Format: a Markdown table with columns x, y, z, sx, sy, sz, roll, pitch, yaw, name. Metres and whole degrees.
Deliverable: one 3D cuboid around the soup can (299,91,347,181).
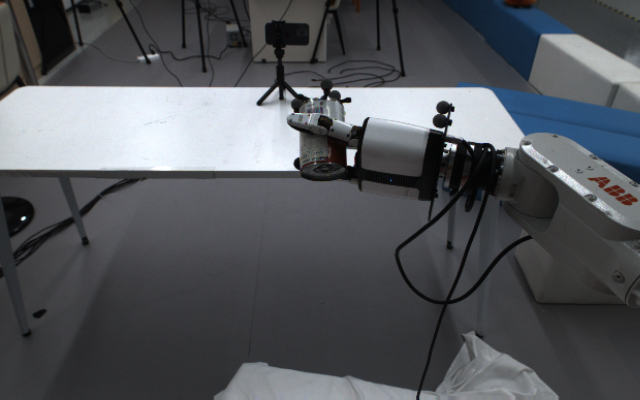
| x | y | z | sx | sy | sz | roll | pitch | yaw | name |
| --- | --- | --- | --- | --- | --- | --- | --- | --- | --- |
| 0.005 | -0.085 | 0.686 | 0.067 | 0.067 | 0.101 | -1 | 71 | -5 | soup can |
